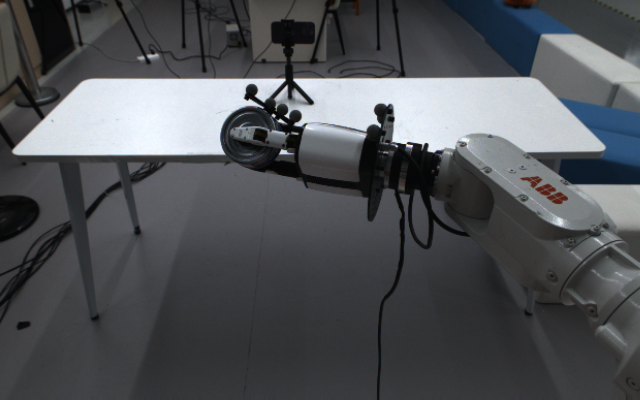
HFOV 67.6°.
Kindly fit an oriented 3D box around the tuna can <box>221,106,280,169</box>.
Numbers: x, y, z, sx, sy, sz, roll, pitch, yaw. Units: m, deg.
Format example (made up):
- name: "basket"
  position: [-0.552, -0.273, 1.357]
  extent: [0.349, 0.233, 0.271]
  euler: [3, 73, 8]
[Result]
- name: "tuna can"
  position: [-0.095, -0.083, 0.690]
  extent: [0.085, 0.085, 0.034]
  euler: [12, -5, 14]
